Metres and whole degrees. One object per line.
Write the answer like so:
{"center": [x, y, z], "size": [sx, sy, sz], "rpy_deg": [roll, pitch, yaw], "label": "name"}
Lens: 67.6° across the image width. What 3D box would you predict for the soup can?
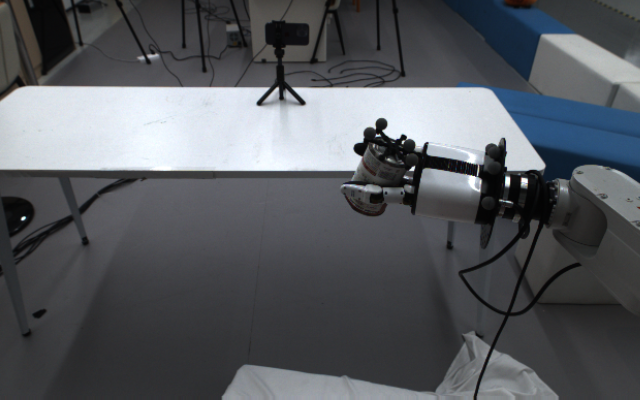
{"center": [0.085, -0.035, 0.716], "size": [0.067, 0.101, 0.067], "rpy_deg": [14, 39, -12], "label": "soup can"}
